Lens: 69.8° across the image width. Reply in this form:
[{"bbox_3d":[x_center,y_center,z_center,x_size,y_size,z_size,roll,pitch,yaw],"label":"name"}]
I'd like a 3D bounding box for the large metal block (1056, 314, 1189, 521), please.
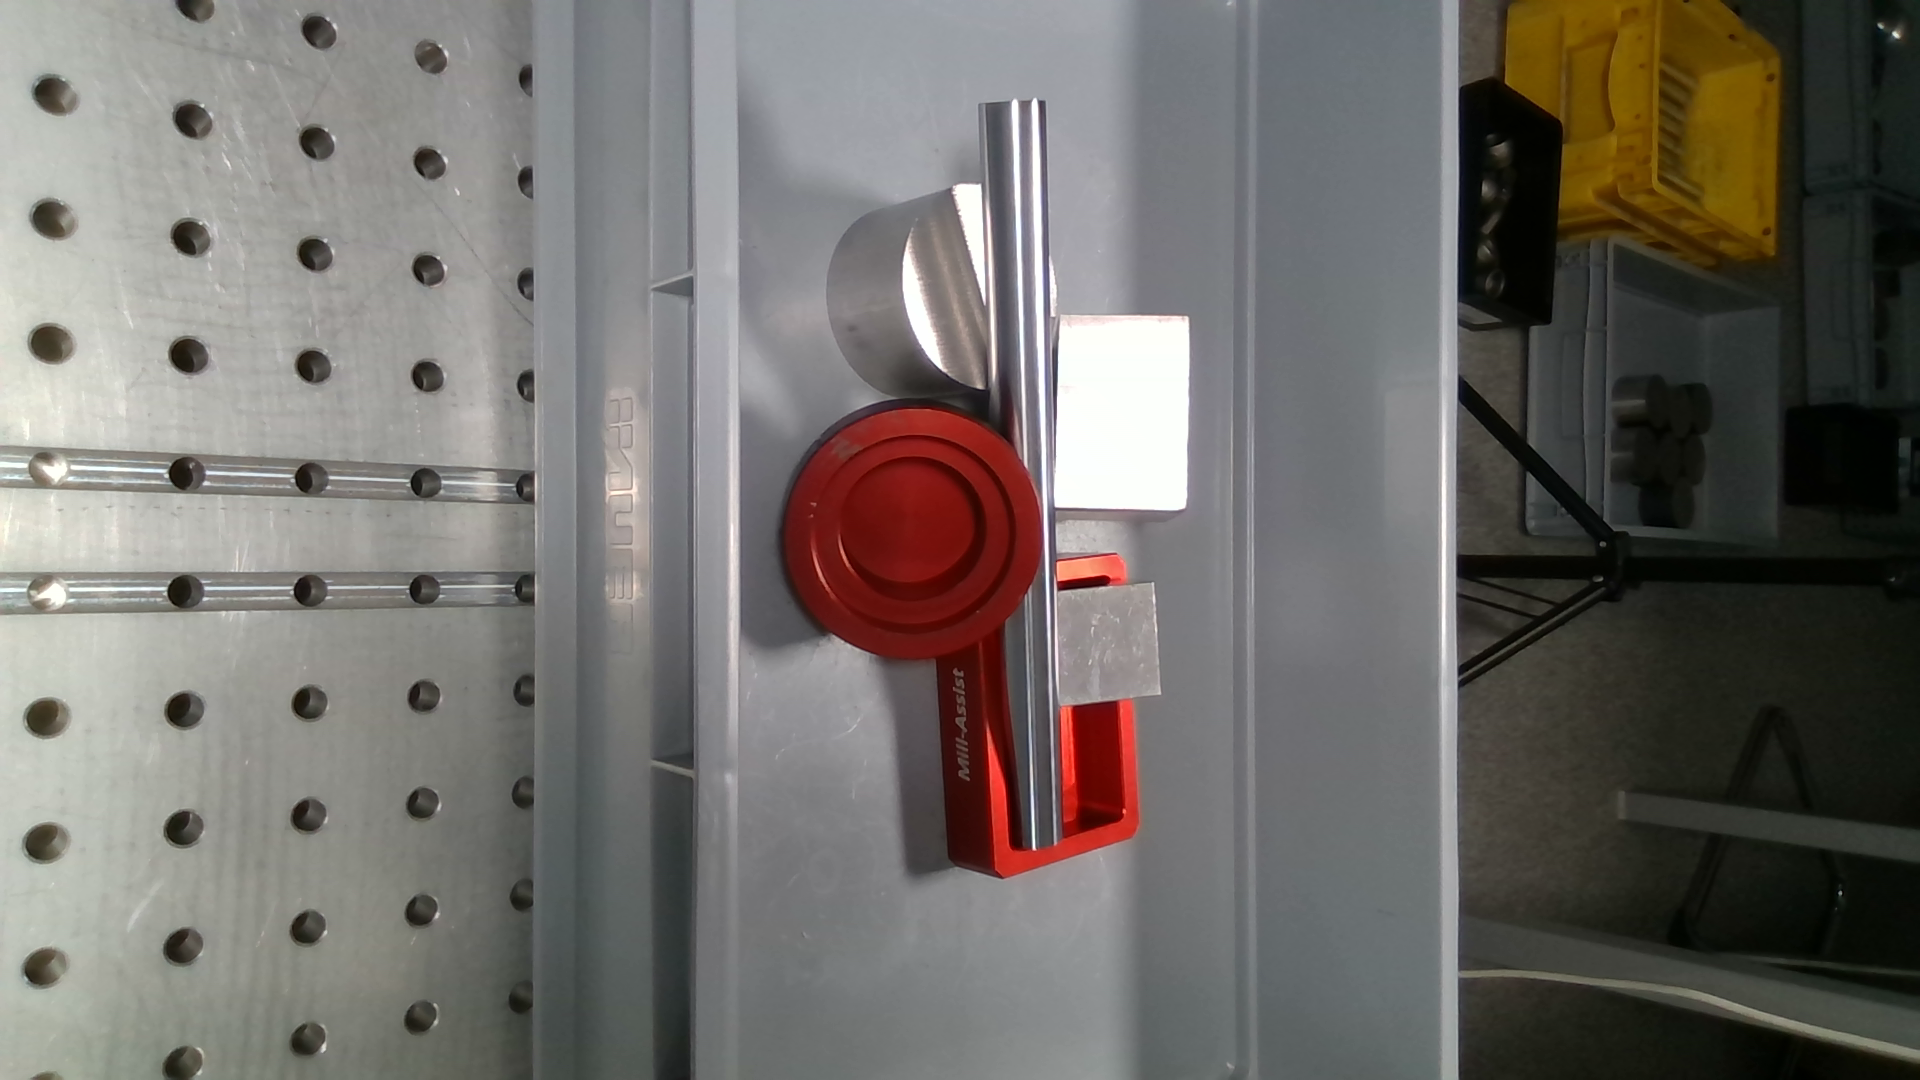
[{"bbox_3d":[0.068,-0.049,0.593,0.050,0.080,0.080,1,87,2],"label":"large metal block"}]

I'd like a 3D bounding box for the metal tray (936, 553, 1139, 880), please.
[{"bbox_3d":[0.035,0.074,0.607,0.090,0.030,0.130,-6,94,-40],"label":"metal tray"}]

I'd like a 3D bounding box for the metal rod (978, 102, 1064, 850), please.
[{"bbox_3d":[0.025,-0.017,0.549,0.025,0.025,0.301,-17,112,-39],"label":"metal rod"}]

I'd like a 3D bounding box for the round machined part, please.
[{"bbox_3d":[-0.019,-0.007,0.533,0.098,0.042,0.098,-2,105,-7],"label":"round machined part"}]

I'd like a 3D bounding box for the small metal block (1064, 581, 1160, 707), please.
[{"bbox_3d":[0.058,0.044,0.603,0.050,0.025,0.050,-5,93,-14],"label":"small metal block"}]

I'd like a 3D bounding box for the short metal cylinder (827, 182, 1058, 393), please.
[{"bbox_3d":[-0.007,-0.100,0.558,0.080,0.050,0.080,0,90,-40],"label":"short metal cylinder"}]
